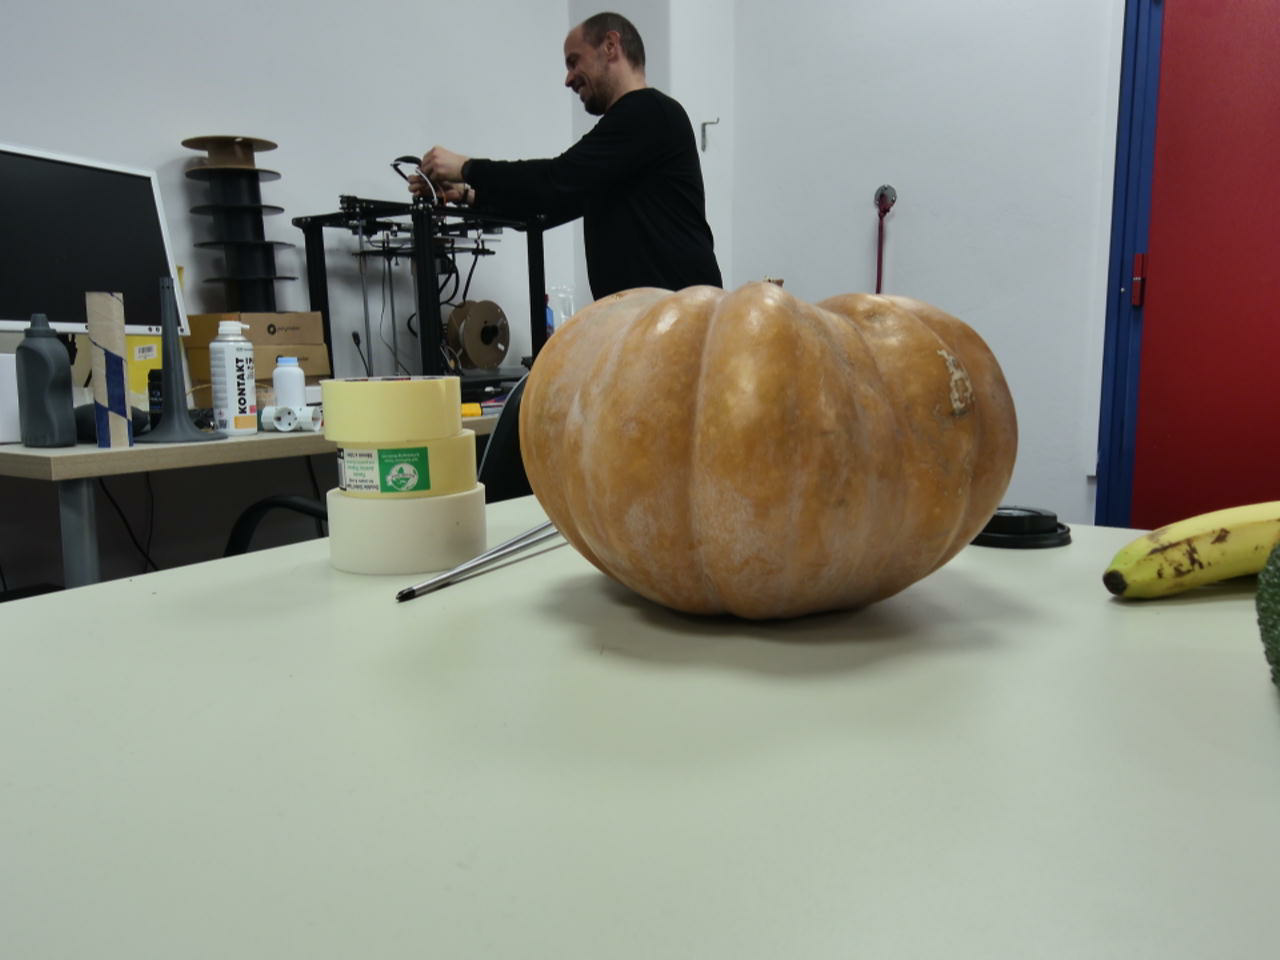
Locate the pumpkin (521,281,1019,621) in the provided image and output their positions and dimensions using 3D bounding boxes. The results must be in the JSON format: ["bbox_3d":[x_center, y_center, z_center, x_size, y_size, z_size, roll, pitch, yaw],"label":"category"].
[{"bbox_3d":[0.065,-0.021,0.567,0.277,0.181,0.277,0,6,0],"label":"pumpkin"}]
